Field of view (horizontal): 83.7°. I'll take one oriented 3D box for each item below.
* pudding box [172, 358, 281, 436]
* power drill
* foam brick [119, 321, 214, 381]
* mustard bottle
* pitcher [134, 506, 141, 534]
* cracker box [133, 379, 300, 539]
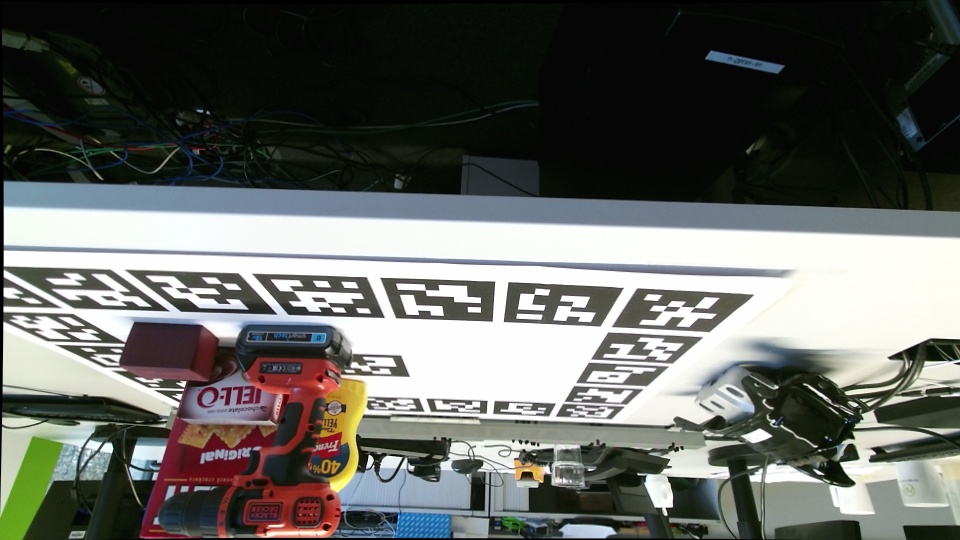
[{"bbox_3d":[-0.302,0.155,0.654,0.114,0.089,0.039,0,151,-2],"label":"pudding box"},{"bbox_3d":[-0.241,0.185,0.565,0.185,0.186,0.057,1,153,2],"label":"power drill"},{"bbox_3d":[-0.358,0.093,0.615,0.078,0.051,0.053,3,148,-1],"label":"foam brick"},{"bbox_3d":[-0.225,0.274,0.760,0.096,0.190,0.058,8,148,-11],"label":"mustard bottle"},{"bbox_3d":[-0.359,0.280,0.755,0.189,0.241,0.133,3,150,-6],"label":"pitcher"},{"bbox_3d":[-0.311,0.225,0.669,0.165,0.212,0.072,-1,152,1],"label":"cracker box"}]
